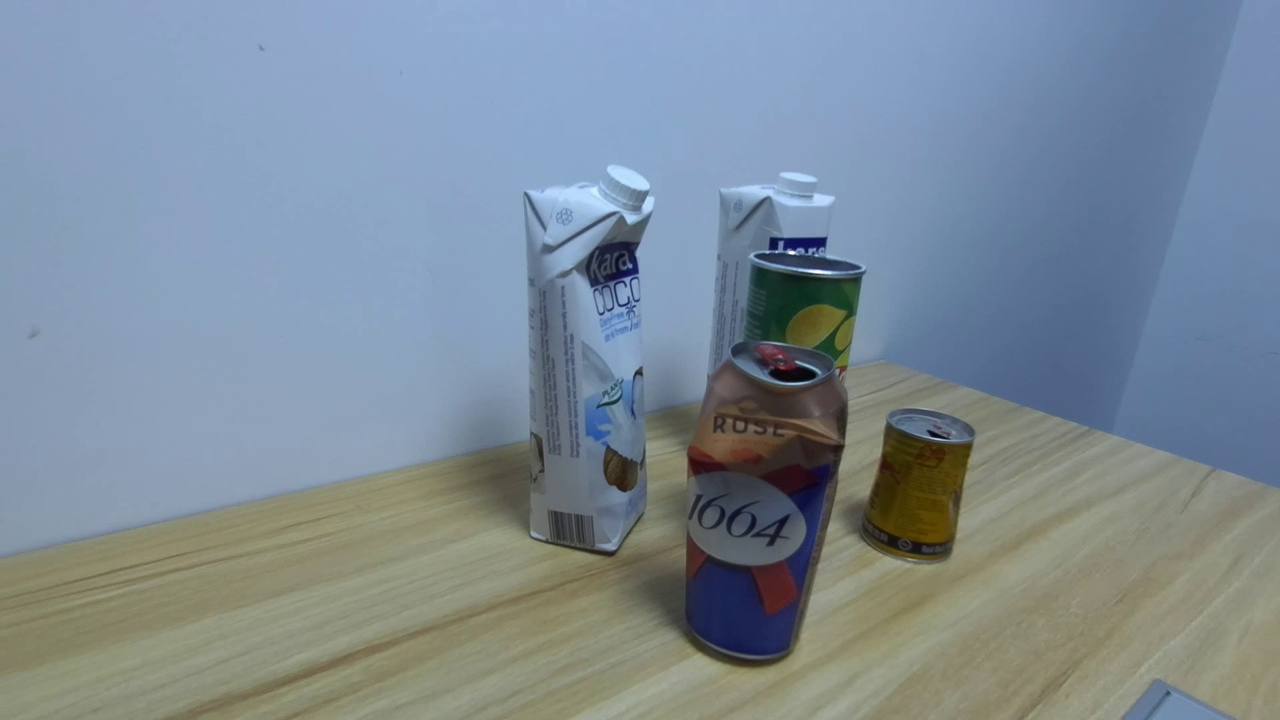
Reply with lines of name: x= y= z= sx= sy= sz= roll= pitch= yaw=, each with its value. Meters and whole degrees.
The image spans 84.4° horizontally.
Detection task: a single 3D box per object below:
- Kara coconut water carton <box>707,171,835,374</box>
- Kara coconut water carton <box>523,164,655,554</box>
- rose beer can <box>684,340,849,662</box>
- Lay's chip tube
Kara coconut water carton: x=0.100 y=-0.025 z=0.570 sx=0.077 sy=0.245 sz=0.075 roll=-5 pitch=16 yaw=-30
Kara coconut water carton: x=-0.031 y=-0.001 z=0.469 sx=0.071 sy=0.244 sz=0.100 roll=7 pitch=20 yaw=17
rose beer can: x=0.063 y=0.076 z=0.375 sx=0.075 sy=0.167 sz=0.065 roll=18 pitch=24 yaw=27
Lay's chip tube: x=0.093 y=0.034 z=0.454 sx=0.071 sy=0.202 sz=0.071 roll=5 pitch=18 yaw=-1
